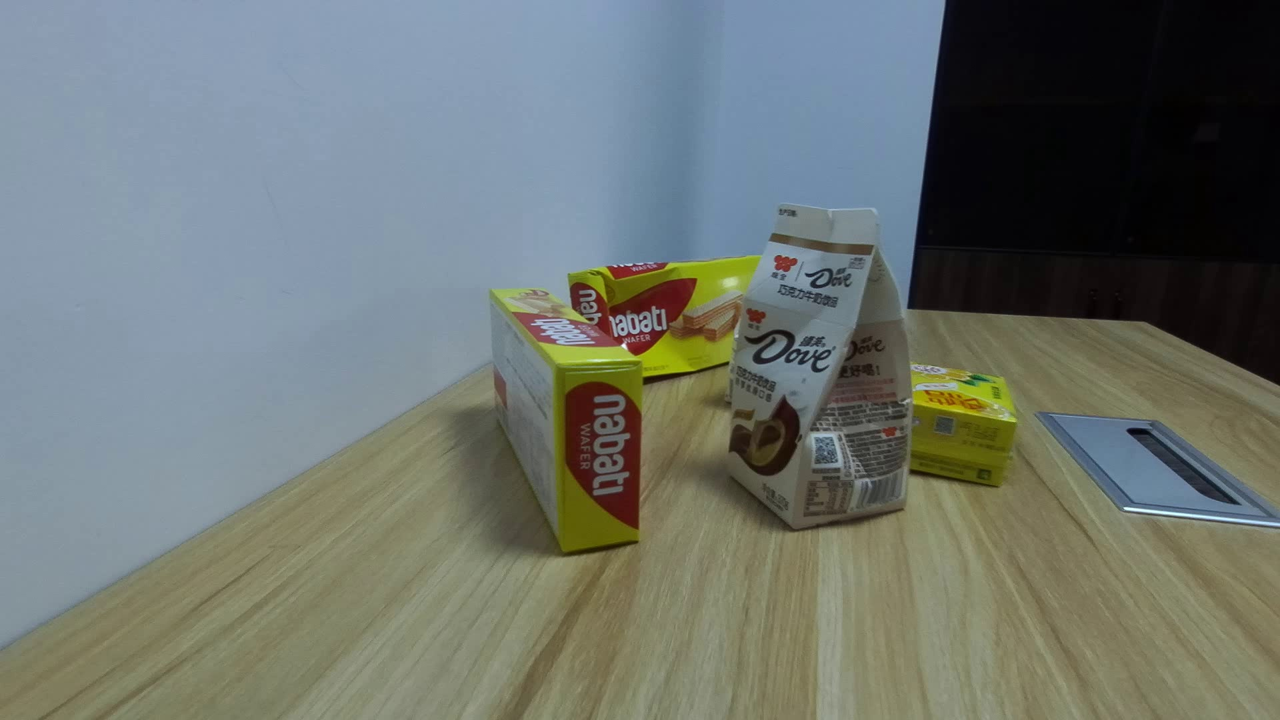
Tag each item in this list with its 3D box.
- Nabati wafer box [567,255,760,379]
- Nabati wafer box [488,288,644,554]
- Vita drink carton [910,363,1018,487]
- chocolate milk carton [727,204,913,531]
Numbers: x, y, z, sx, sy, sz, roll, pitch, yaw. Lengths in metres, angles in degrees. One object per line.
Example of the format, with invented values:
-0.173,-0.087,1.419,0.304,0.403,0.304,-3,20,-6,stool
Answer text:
0.034,-0.038,0.619,0.204,0.096,0.042,-11,8,-40,Nabati wafer box
-0.051,0.019,0.403,0.042,0.093,0.202,-6,16,-19,Nabati wafer box
0.201,0.038,0.449,0.076,0.043,0.109,11,16,21,Vita drink carton
0.098,-0.001,0.368,0.073,0.155,0.084,-4,17,-20,chocolate milk carton
